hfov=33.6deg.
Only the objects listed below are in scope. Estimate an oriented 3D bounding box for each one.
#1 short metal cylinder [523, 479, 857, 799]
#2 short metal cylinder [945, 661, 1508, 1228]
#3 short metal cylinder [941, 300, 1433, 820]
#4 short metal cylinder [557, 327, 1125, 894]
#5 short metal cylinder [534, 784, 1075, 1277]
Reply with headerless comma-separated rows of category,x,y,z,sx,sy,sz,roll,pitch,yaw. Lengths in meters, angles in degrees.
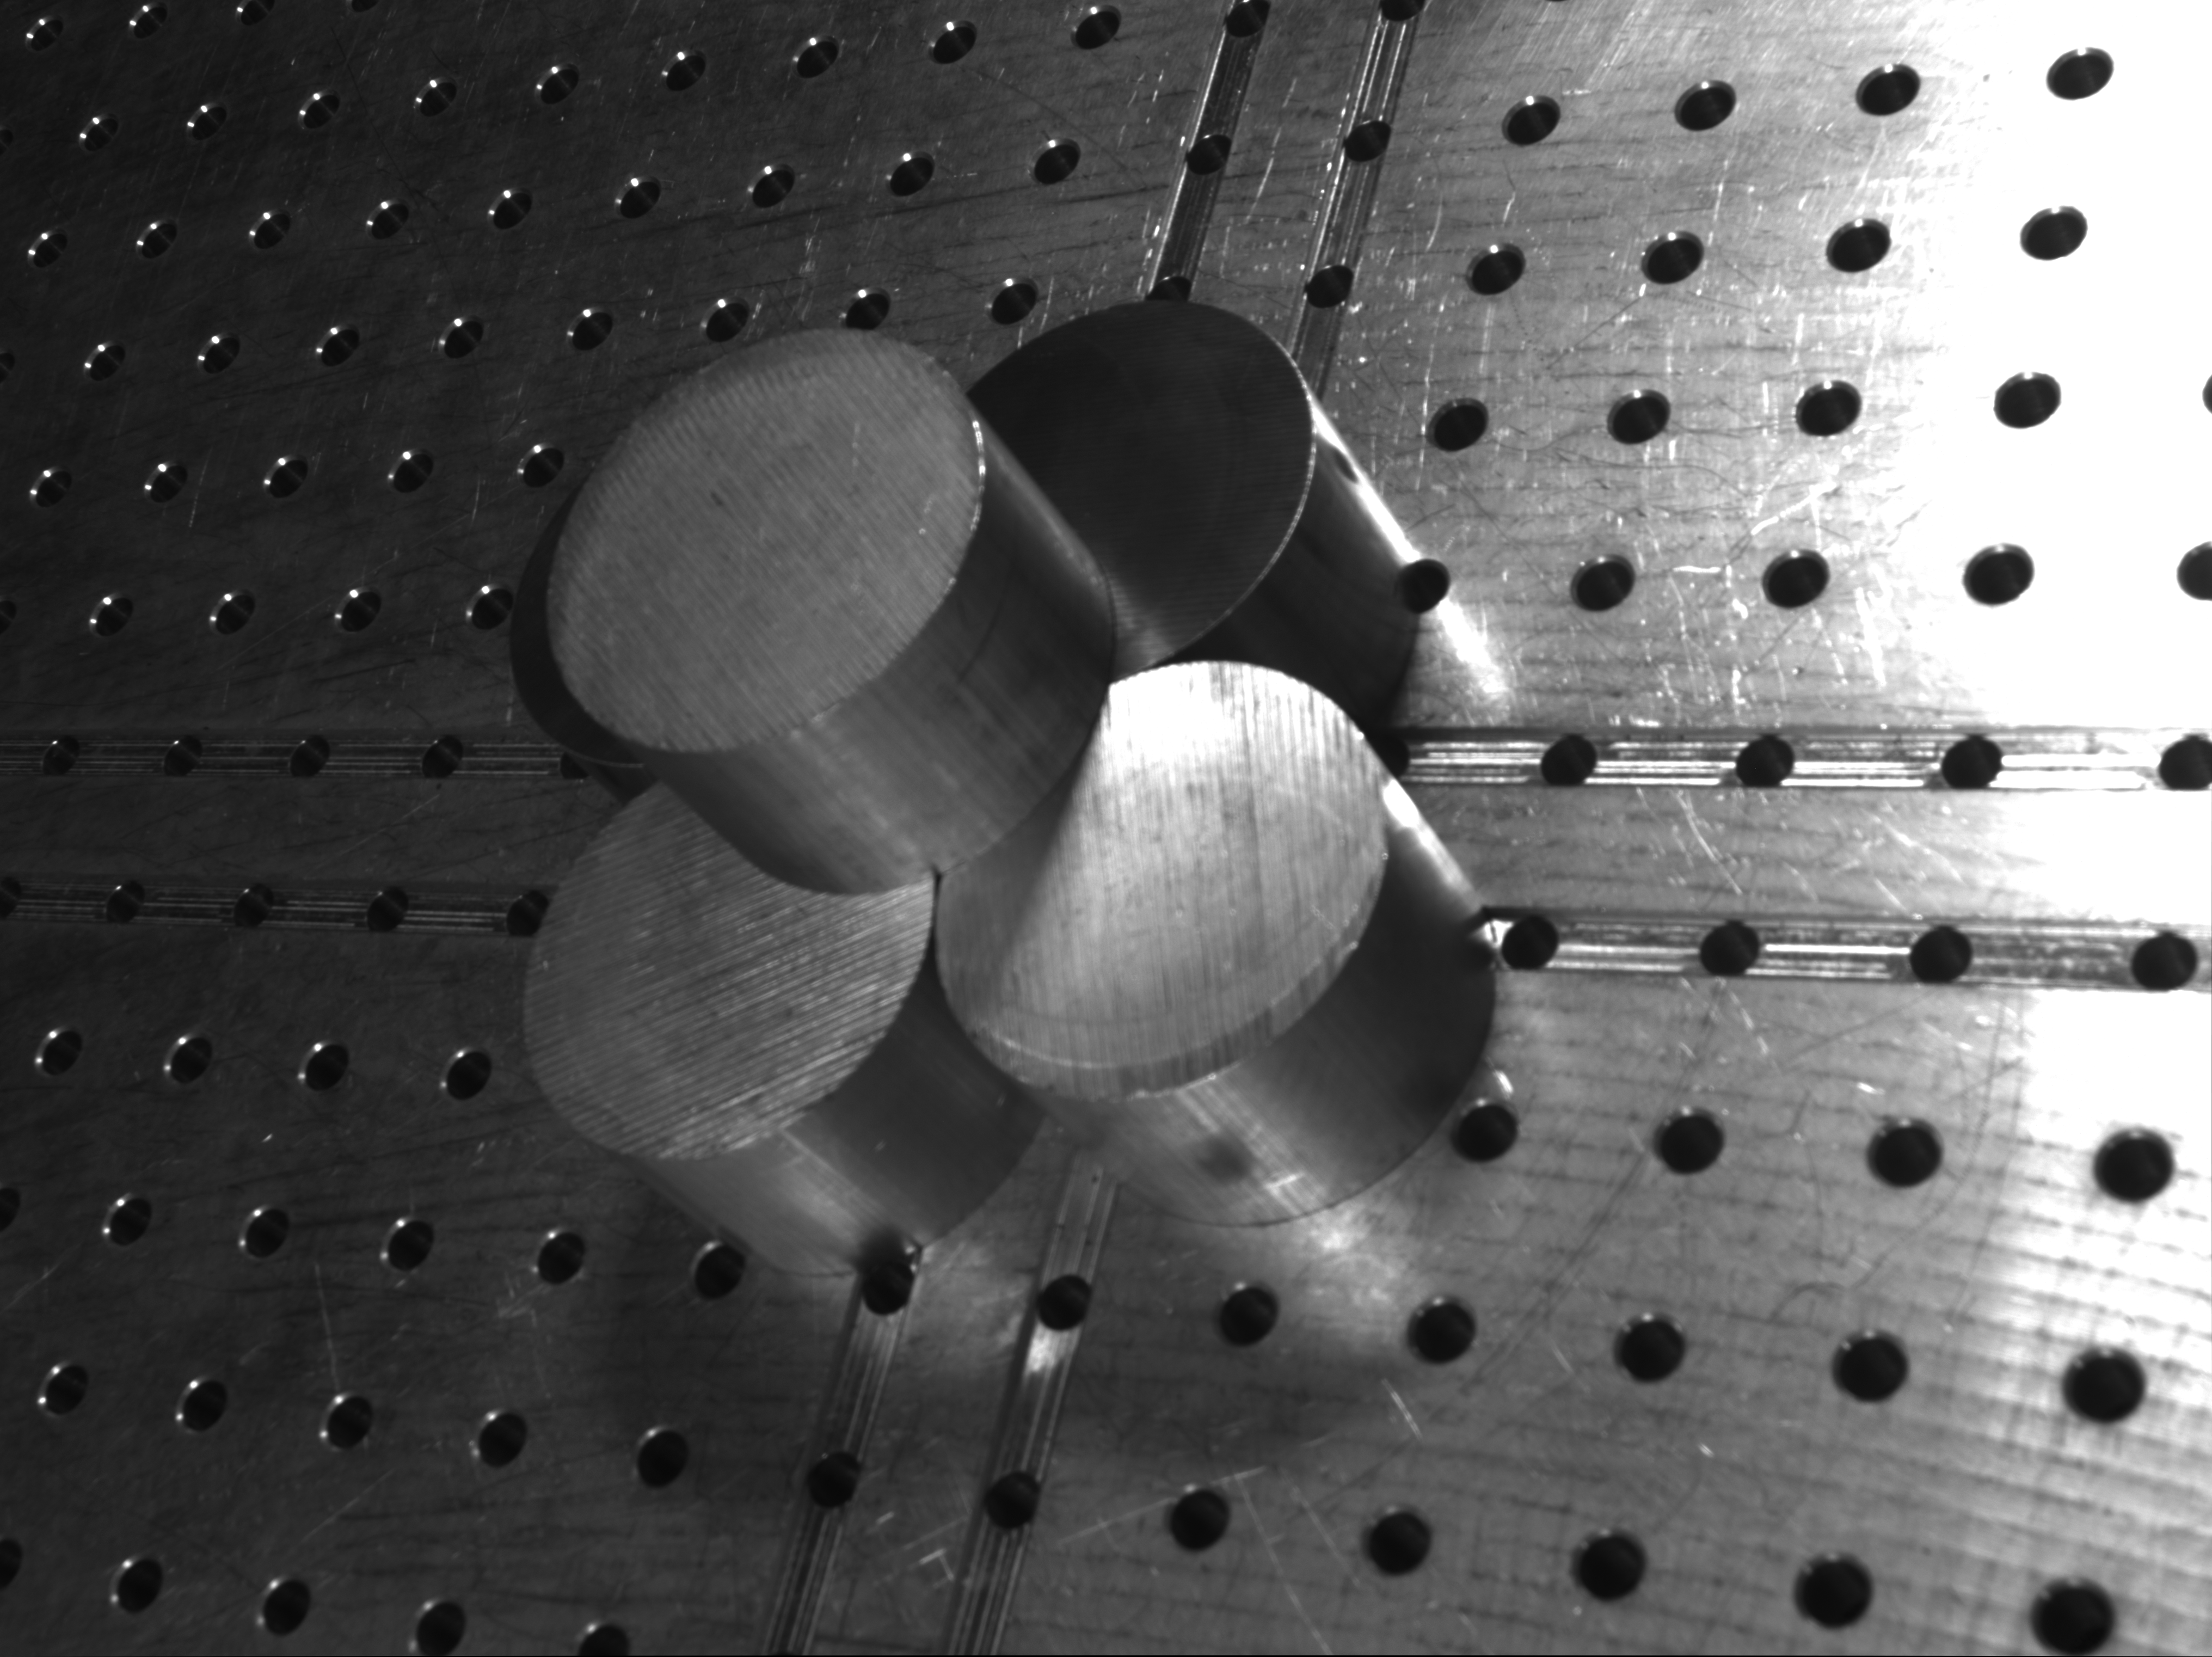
short metal cylinder,-0.061,-0.034,0.684,0.080,0.050,0.080,-13,56,21
short metal cylinder,0.020,0.019,0.607,0.080,0.050,0.080,-13,56,21
short metal cylinder,0.012,-0.047,0.653,0.080,0.050,0.080,-13,56,21
short metal cylinder,-0.044,-0.036,0.610,0.080,0.050,0.080,-13,58,21
short metal cylinder,-0.052,0.031,0.639,0.080,0.050,0.080,-13,56,21
